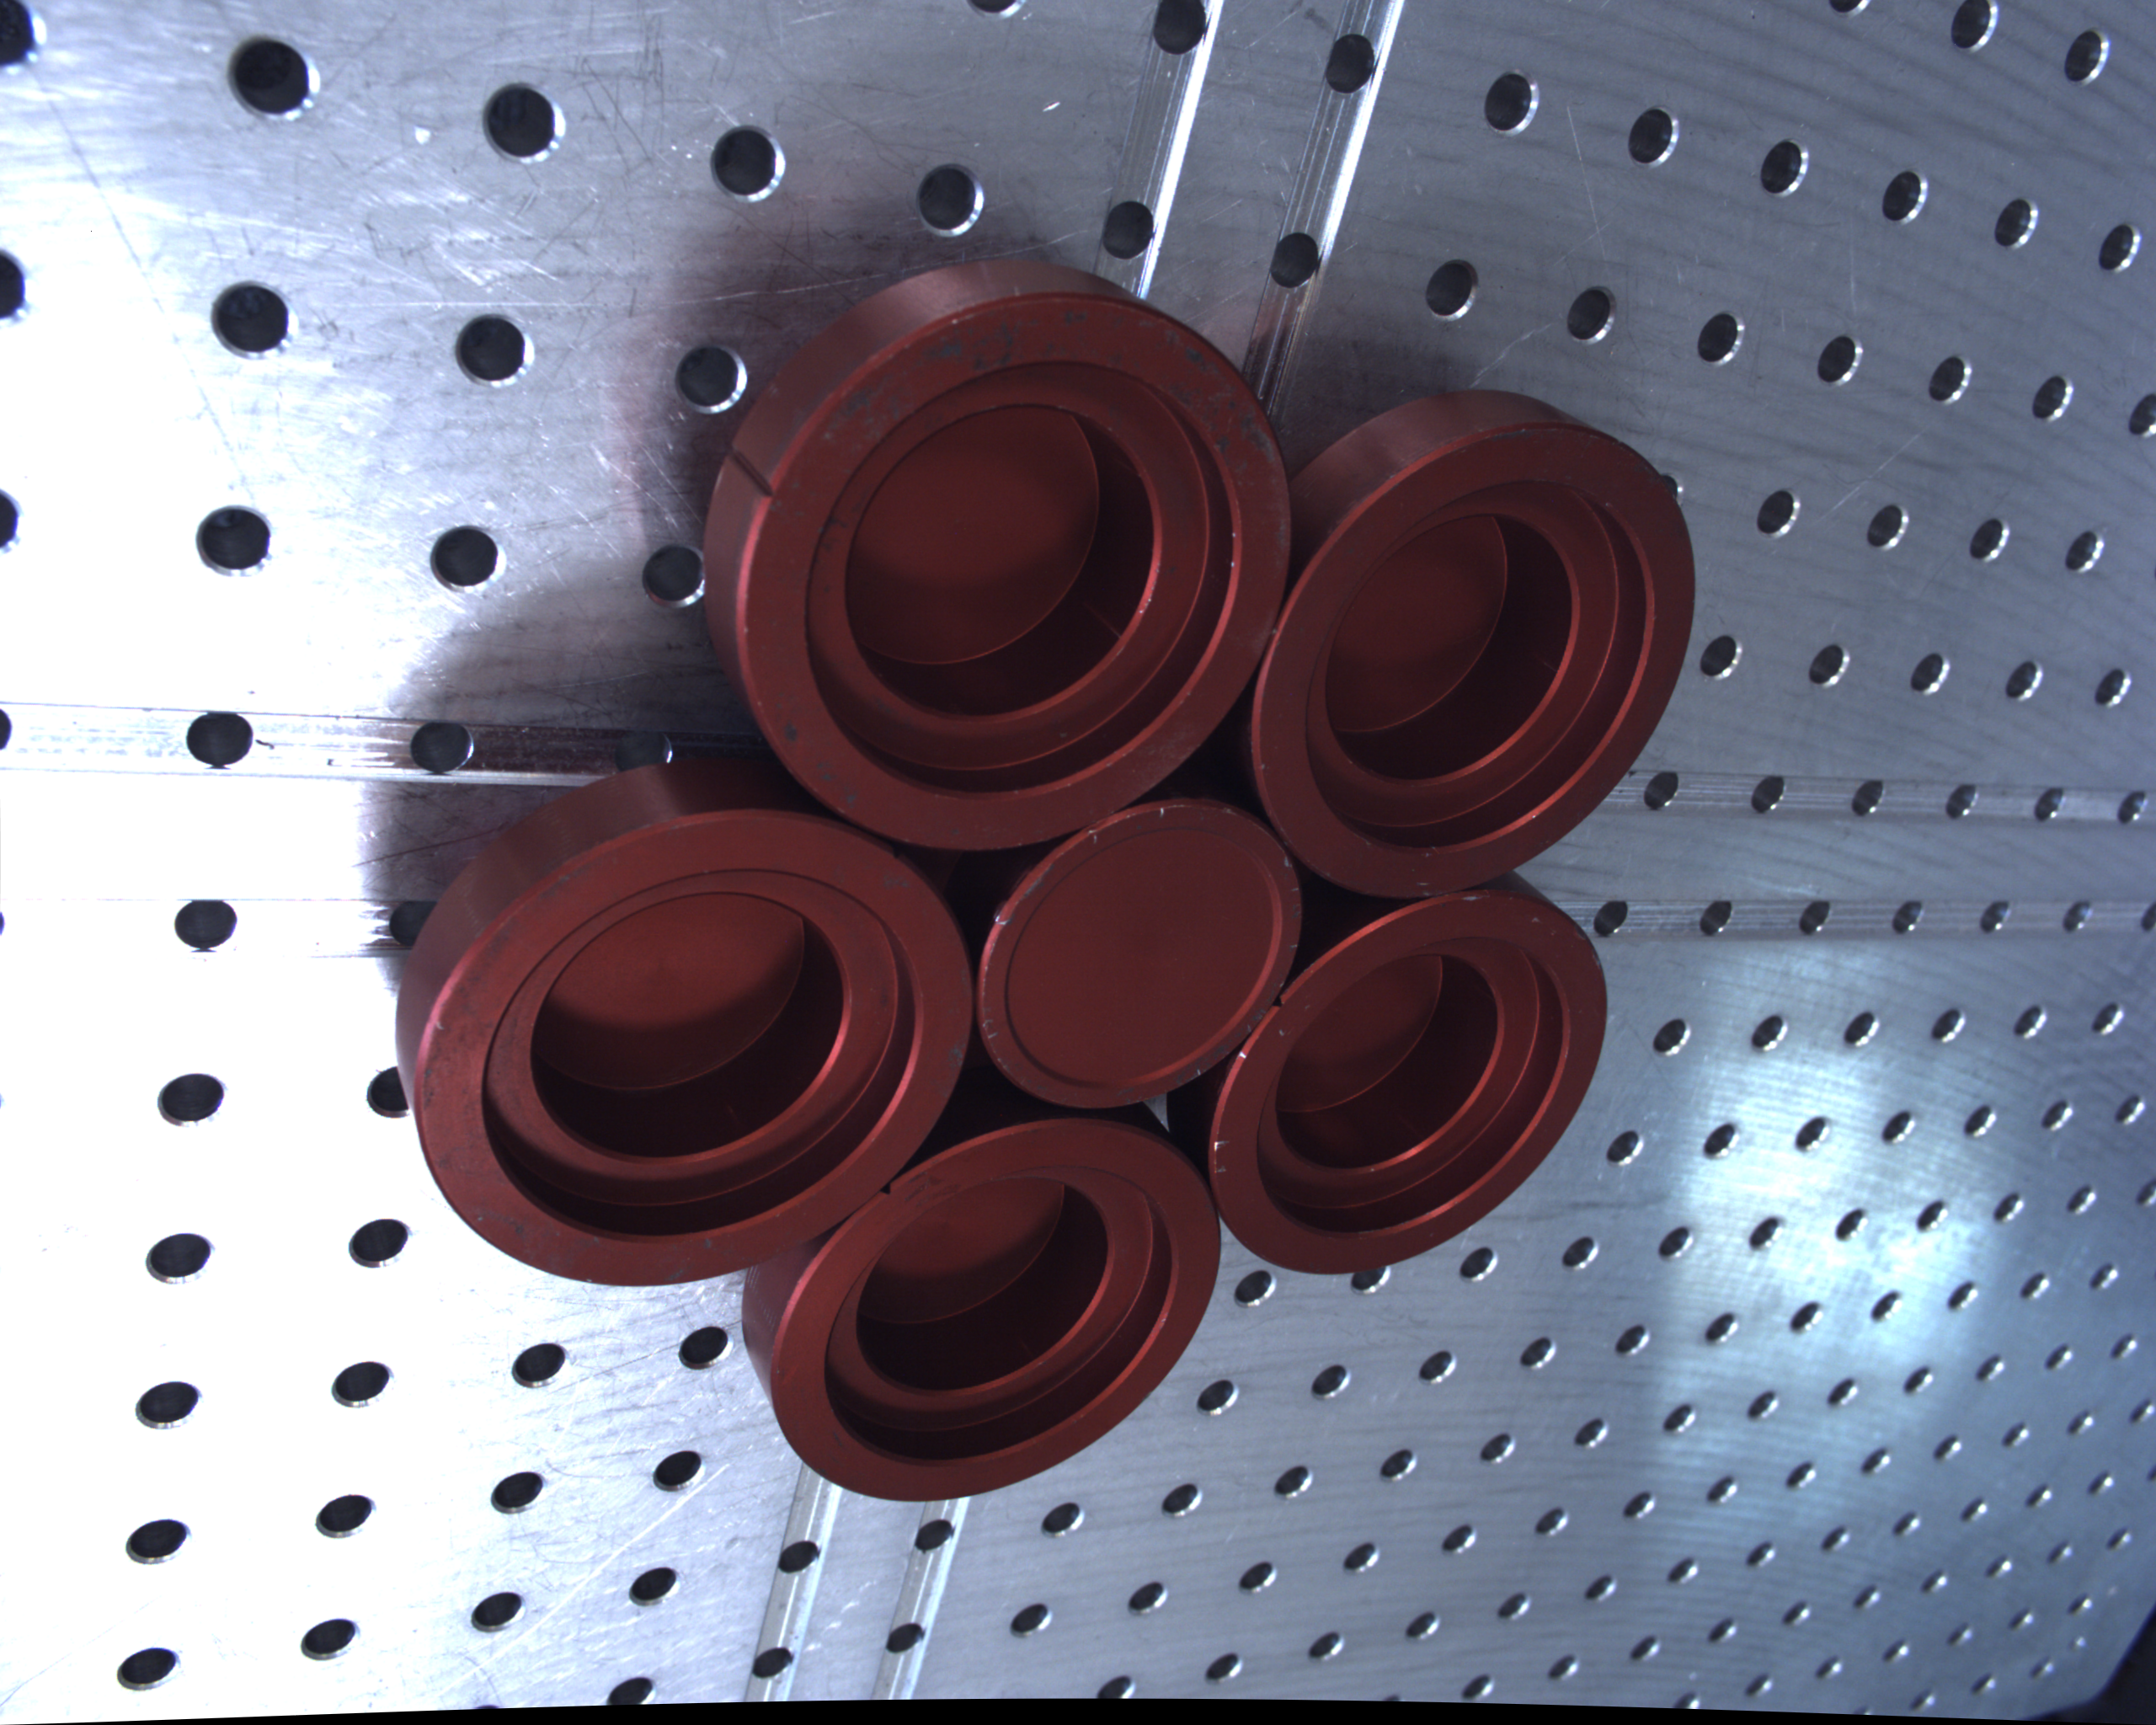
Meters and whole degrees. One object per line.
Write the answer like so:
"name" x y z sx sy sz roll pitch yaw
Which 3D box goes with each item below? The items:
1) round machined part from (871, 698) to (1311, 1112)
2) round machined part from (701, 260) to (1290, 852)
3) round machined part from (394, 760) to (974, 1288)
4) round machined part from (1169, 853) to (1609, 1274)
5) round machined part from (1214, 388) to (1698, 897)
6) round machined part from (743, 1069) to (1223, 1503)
"round machined part" 0.004 0.009 0.406 0.099 0.042 0.097 -14 124 -21
"round machined part" -0.017 -0.054 0.357 0.099 0.042 0.097 -14 124 -21
"round machined part" -0.072 0.025 0.375 0.099 0.042 0.097 -14 124 -21
"round machined part" 0.063 0.039 0.458 0.099 0.042 0.097 -14 124 -21
"round machined part" 0.068 -0.045 0.408 0.099 0.042 0.097 -14 124 -21
"round machined part" -0.023 0.083 0.437 0.099 0.042 0.097 -14 124 -21
